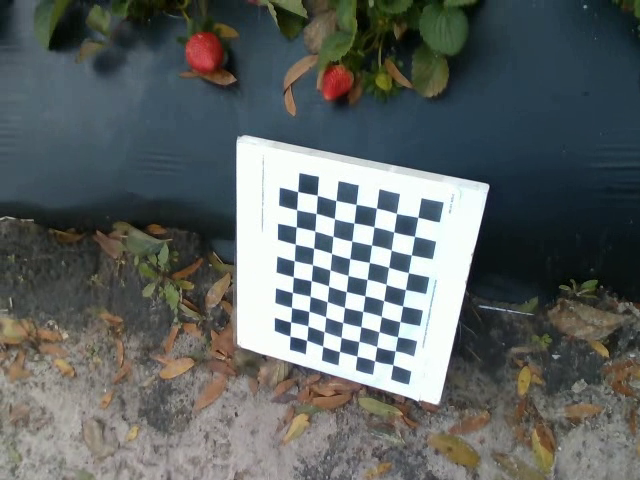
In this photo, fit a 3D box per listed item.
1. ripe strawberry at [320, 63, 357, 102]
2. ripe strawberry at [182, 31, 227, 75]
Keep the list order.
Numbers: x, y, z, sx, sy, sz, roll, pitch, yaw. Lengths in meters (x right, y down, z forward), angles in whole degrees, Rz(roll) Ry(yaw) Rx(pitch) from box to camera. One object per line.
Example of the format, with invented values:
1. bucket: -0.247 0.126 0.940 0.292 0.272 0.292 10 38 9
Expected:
1. ripe strawberry: 0.016 -0.163 0.736 0.040 0.042 0.037 22 -15 10
2. ripe strawberry: -0.128 -0.202 0.776 0.042 0.047 0.065 -5 36 -19
